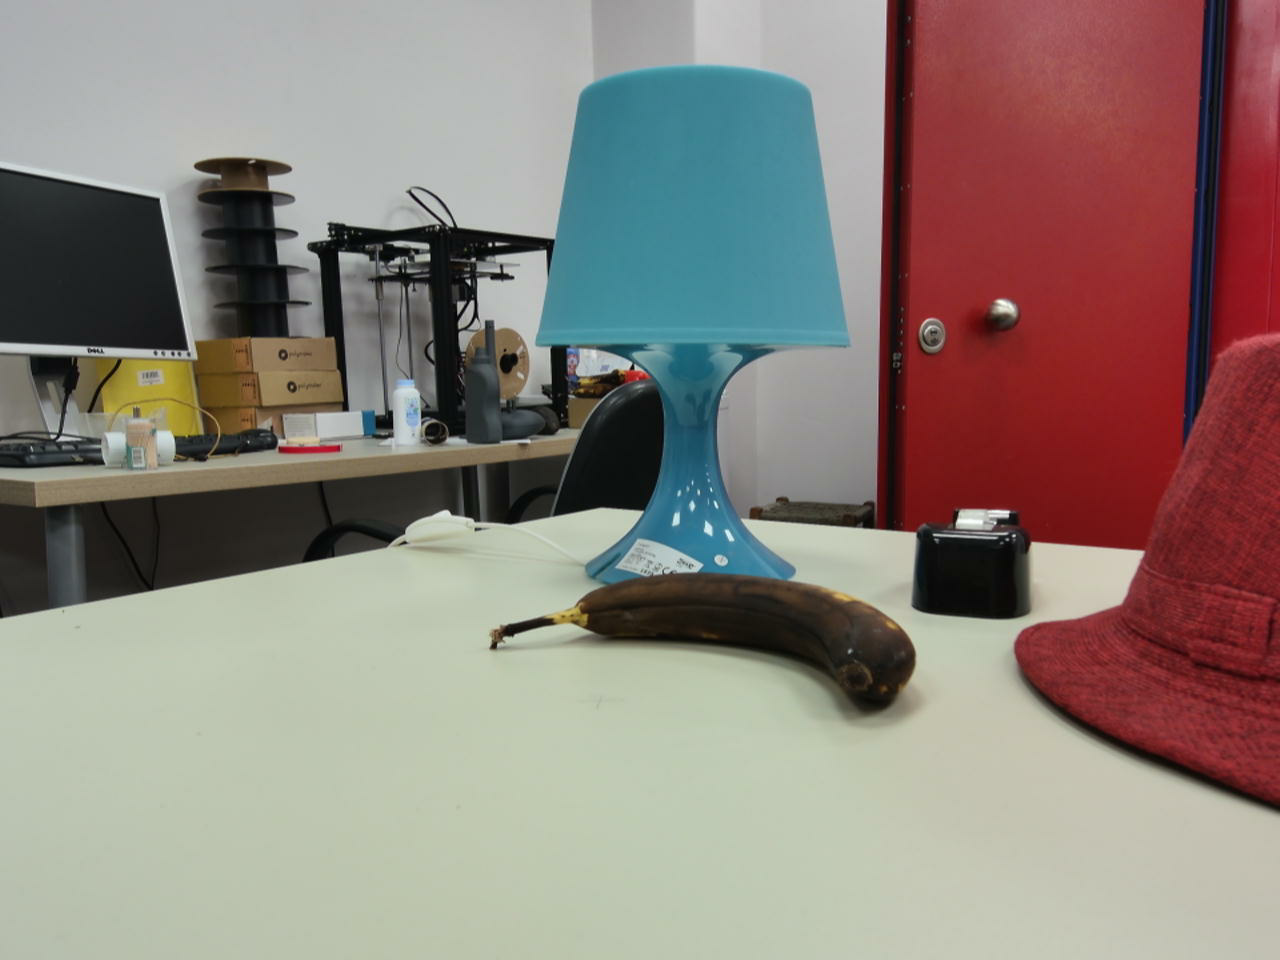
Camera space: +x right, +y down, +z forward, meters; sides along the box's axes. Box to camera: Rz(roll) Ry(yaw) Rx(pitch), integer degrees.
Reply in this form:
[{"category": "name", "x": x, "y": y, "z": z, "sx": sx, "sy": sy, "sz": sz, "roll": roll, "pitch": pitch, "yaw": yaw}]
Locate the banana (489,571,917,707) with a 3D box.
[{"category": "banana", "x": 0.034, "y": 0.061, "z": 0.433, "sx": 0.188, "sy": 0.033, "sz": 0.091, "roll": 3, "pitch": 4, "yaw": 39}]
